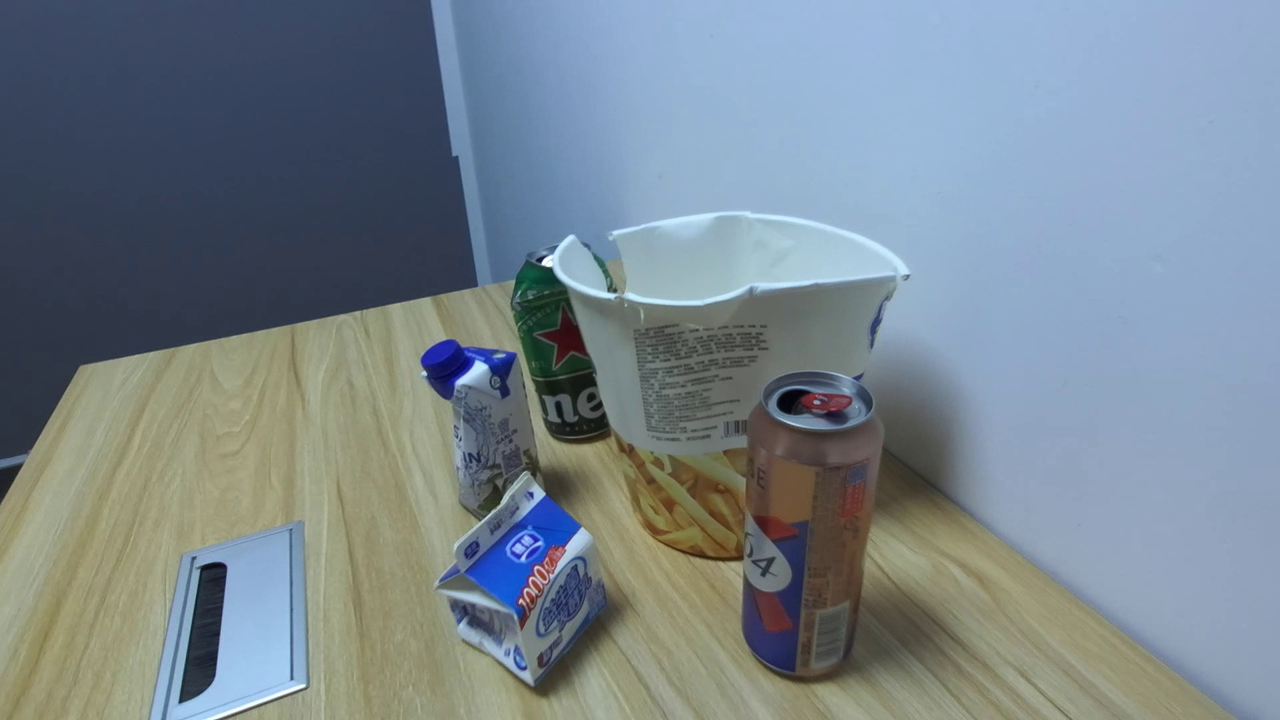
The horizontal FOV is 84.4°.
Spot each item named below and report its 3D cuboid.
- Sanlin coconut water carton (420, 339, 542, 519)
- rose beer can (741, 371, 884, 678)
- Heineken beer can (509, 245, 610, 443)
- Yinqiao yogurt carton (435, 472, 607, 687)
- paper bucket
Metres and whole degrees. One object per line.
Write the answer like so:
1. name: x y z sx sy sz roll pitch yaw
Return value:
1. Sanlin coconut water carton: -0.112 0.046 0.517 0.070 0.144 0.060 -26 34 -34
2. rose beer can: 0.090 0.093 0.383 0.068 0.169 0.068 -3 29 2
3. Heineken beer can: -0.053 -0.012 0.598 0.077 0.164 0.066 0 24 15
4. Yinqiao yogurt carton: -0.077 0.124 0.419 0.080 0.097 0.074 6 29 32
5. paper bucket: 0.056 0.014 0.495 0.203 0.197 0.145 -9 28 -11
